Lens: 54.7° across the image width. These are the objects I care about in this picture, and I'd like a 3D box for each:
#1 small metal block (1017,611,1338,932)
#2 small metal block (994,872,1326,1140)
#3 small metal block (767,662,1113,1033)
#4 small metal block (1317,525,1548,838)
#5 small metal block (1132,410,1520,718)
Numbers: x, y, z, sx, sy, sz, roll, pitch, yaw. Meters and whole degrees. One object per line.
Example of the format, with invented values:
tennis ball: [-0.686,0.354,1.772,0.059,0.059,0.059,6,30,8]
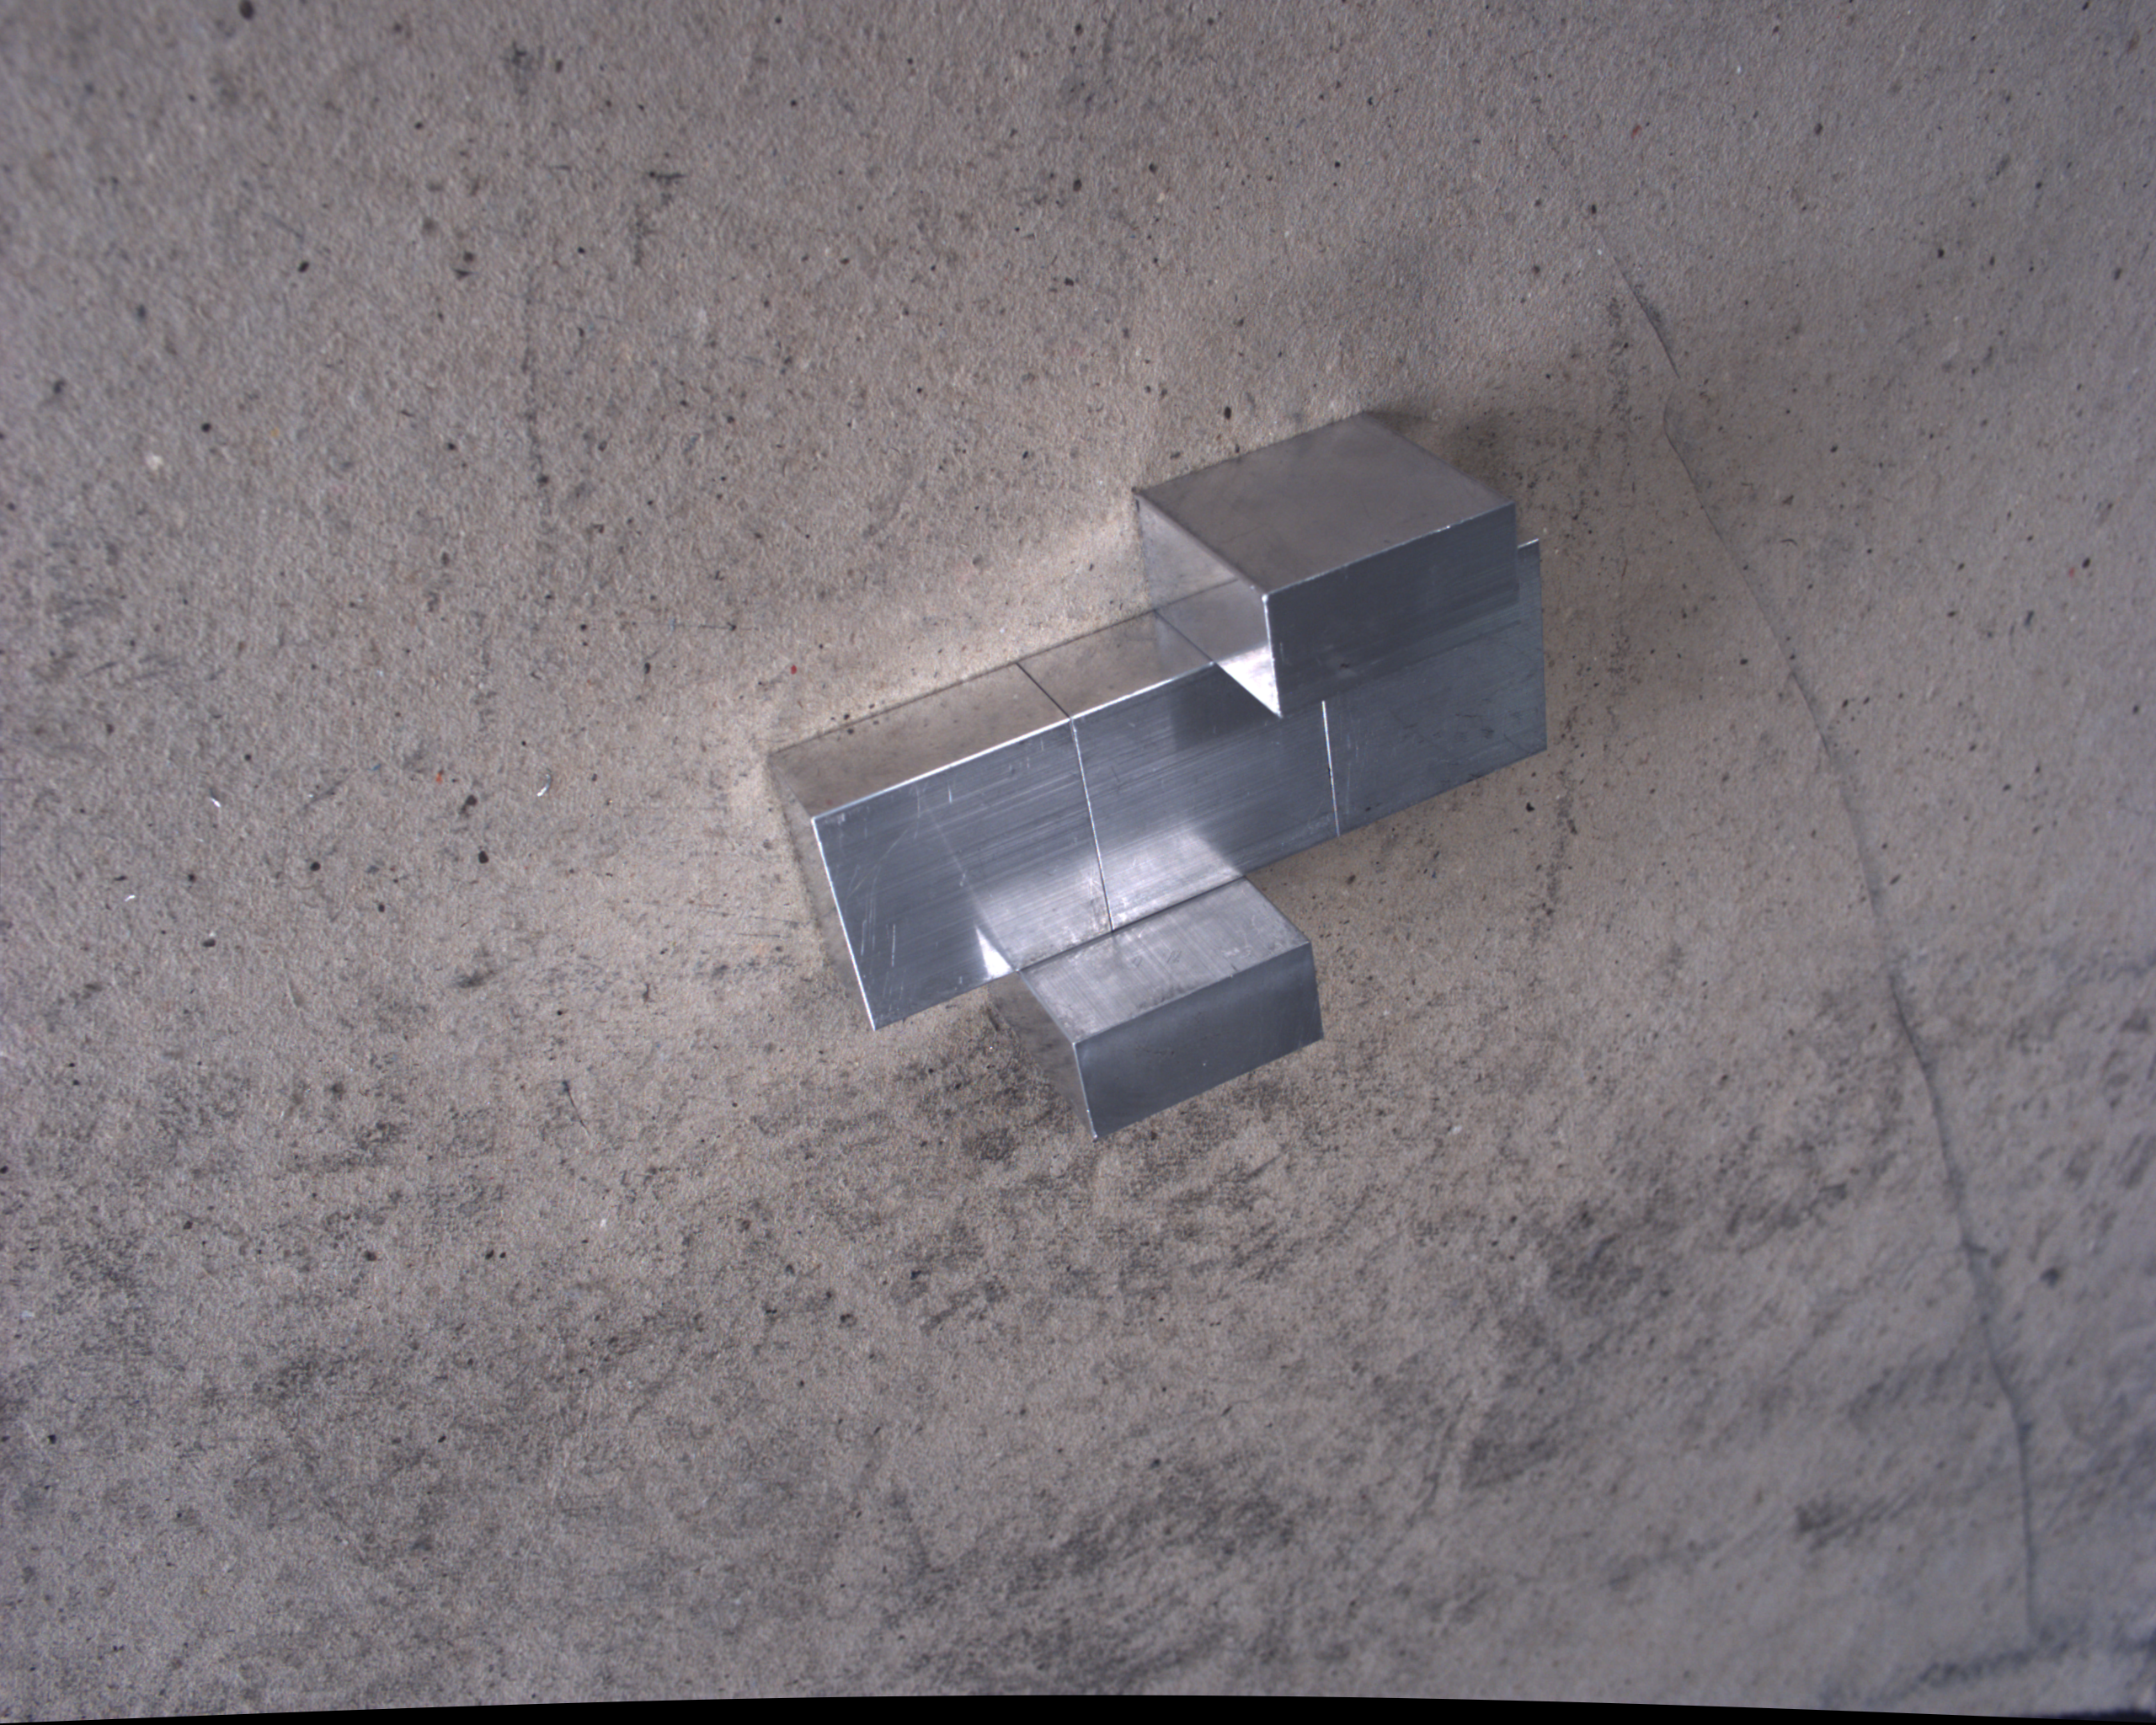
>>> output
small metal block: [0.020,-0.021,0.406,0.050,0.025,0.050,-22,127,-15]
small metal block: [0.013,0.022,0.413,0.050,0.050,0.025,-22,126,-15]
small metal block: [-0.025,-0.003,0.392,0.050,0.025,0.050,-22,127,-15]
small metal block: [0.065,-0.040,0.419,0.050,0.025,0.050,-22,127,-15]
small metal block: [0.045,-0.056,0.382,0.050,0.050,0.025,-22,127,-15]
